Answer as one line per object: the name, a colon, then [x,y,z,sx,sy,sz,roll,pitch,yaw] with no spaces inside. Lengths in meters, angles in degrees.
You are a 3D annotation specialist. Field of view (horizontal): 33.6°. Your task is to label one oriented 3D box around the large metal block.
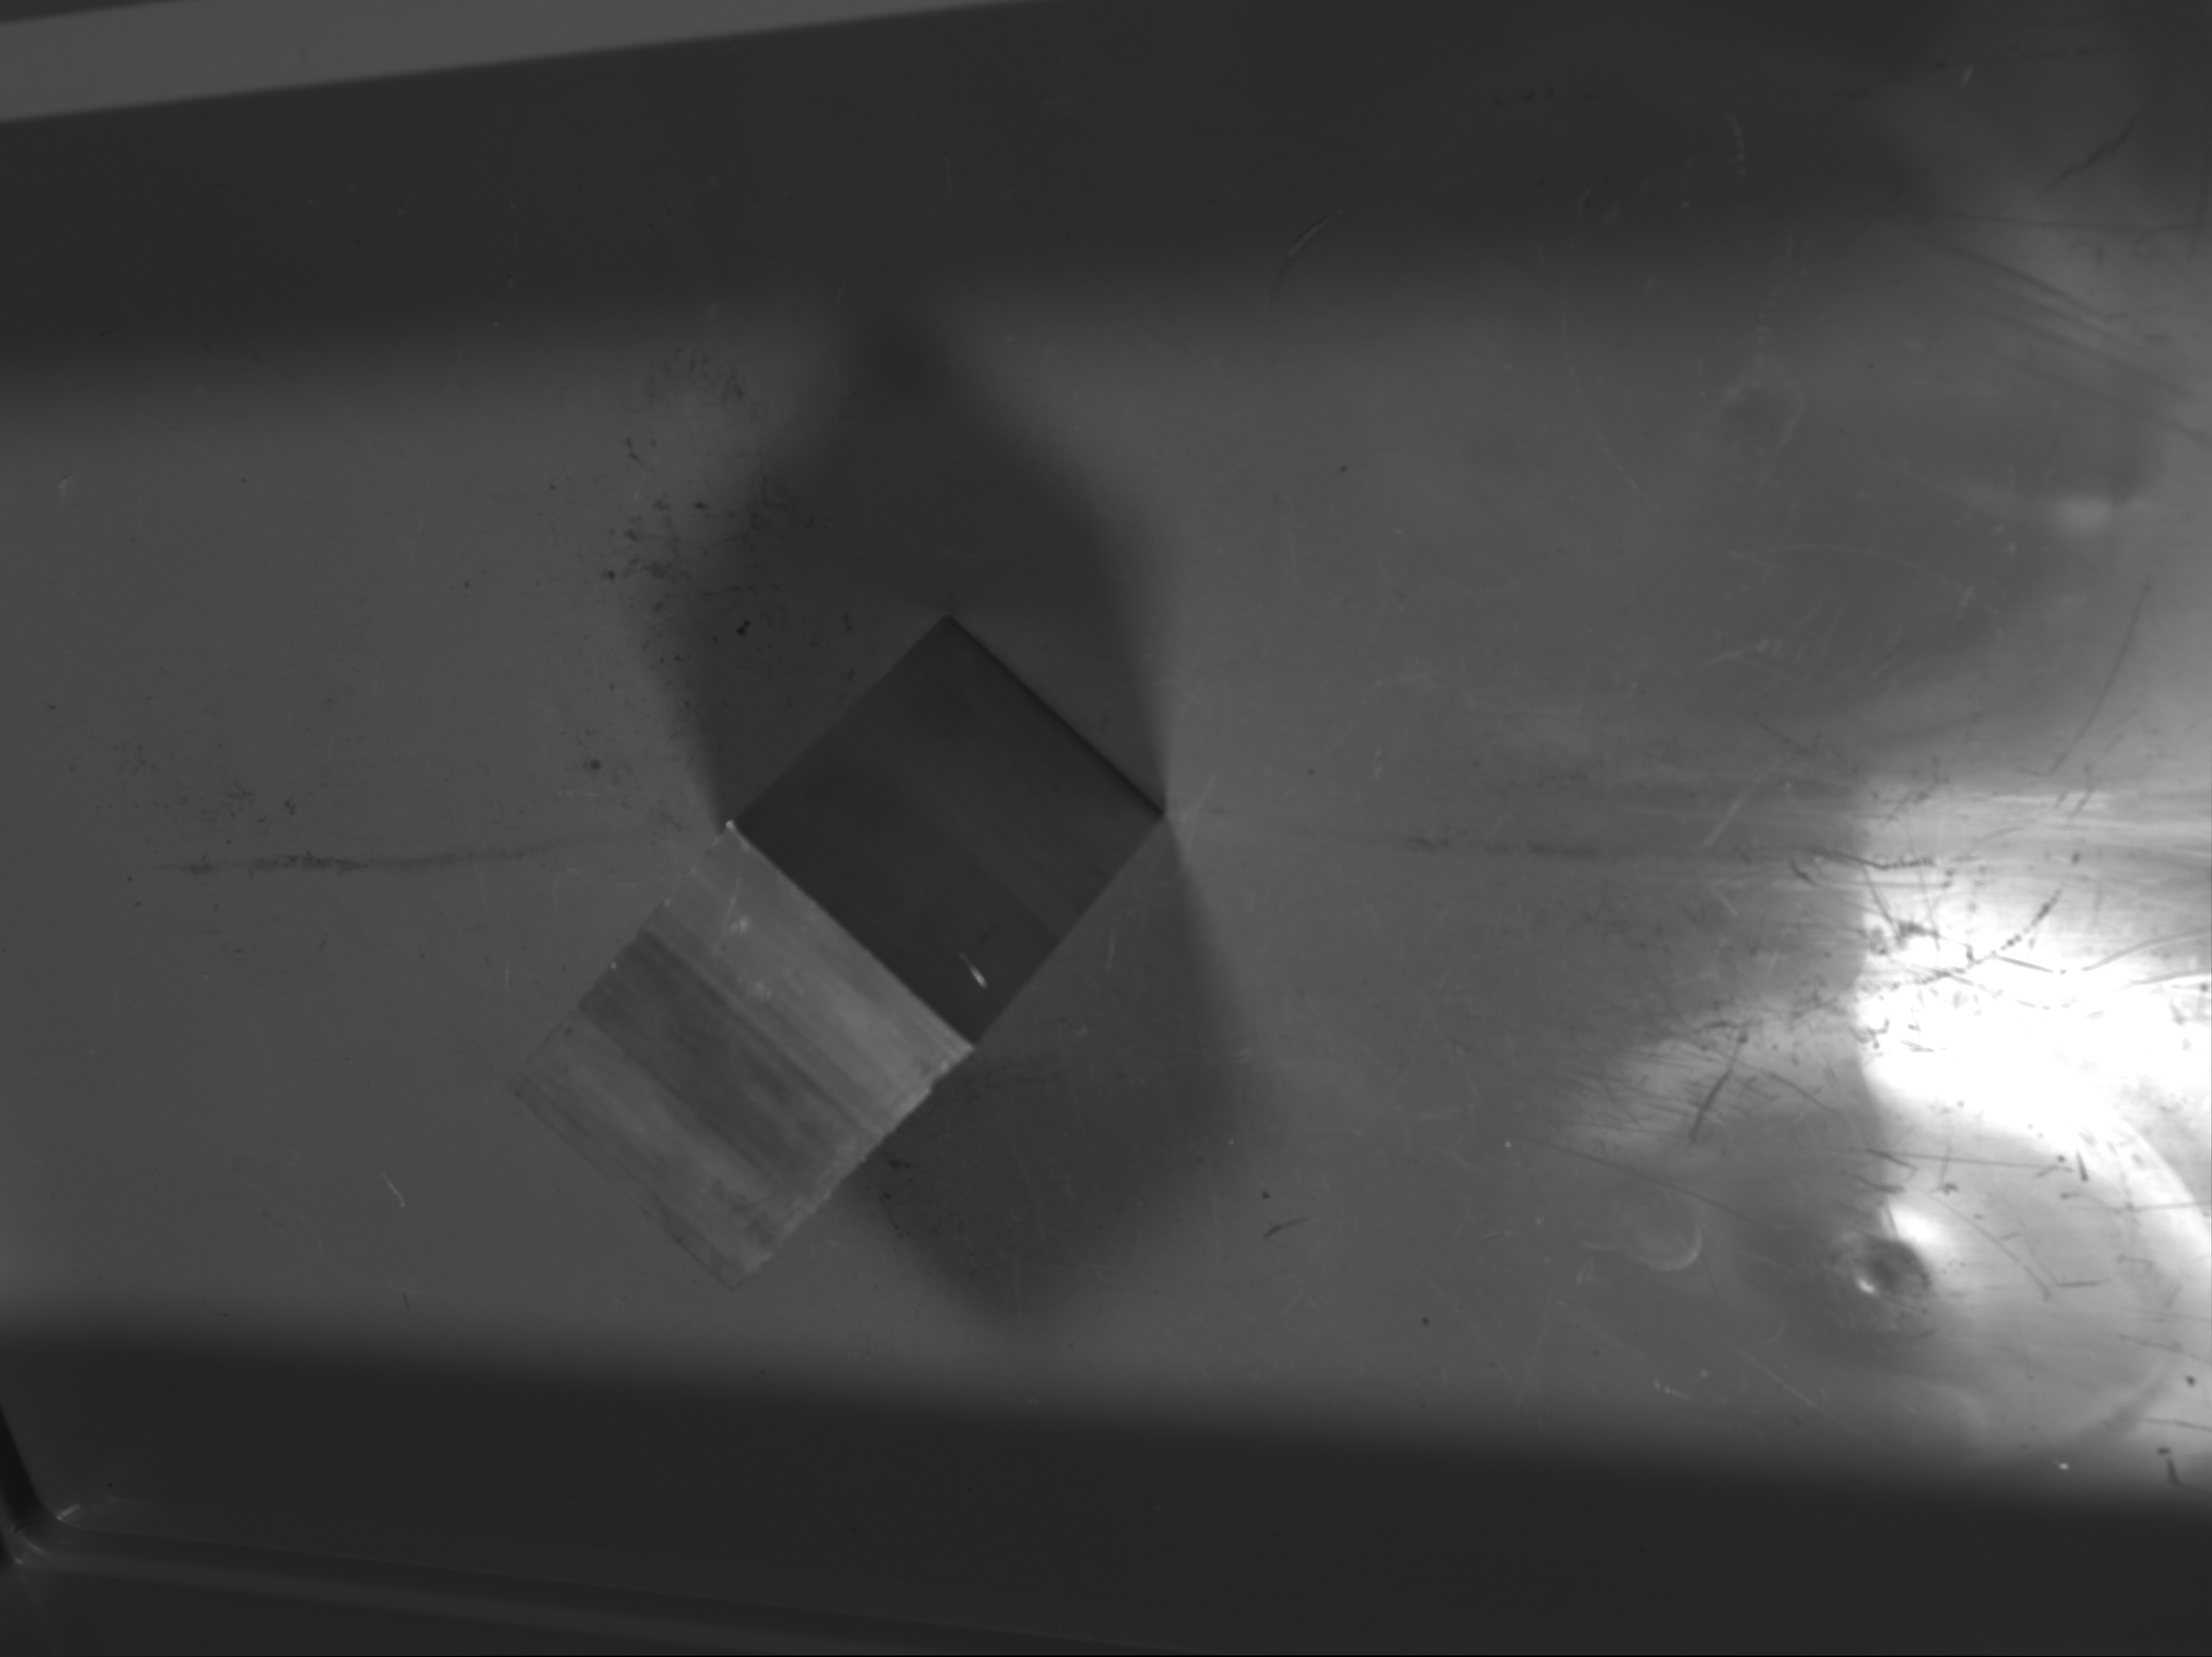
large metal block: [-0.050,0.021,0.631,0.050,0.080,0.080,43,128,-2]
